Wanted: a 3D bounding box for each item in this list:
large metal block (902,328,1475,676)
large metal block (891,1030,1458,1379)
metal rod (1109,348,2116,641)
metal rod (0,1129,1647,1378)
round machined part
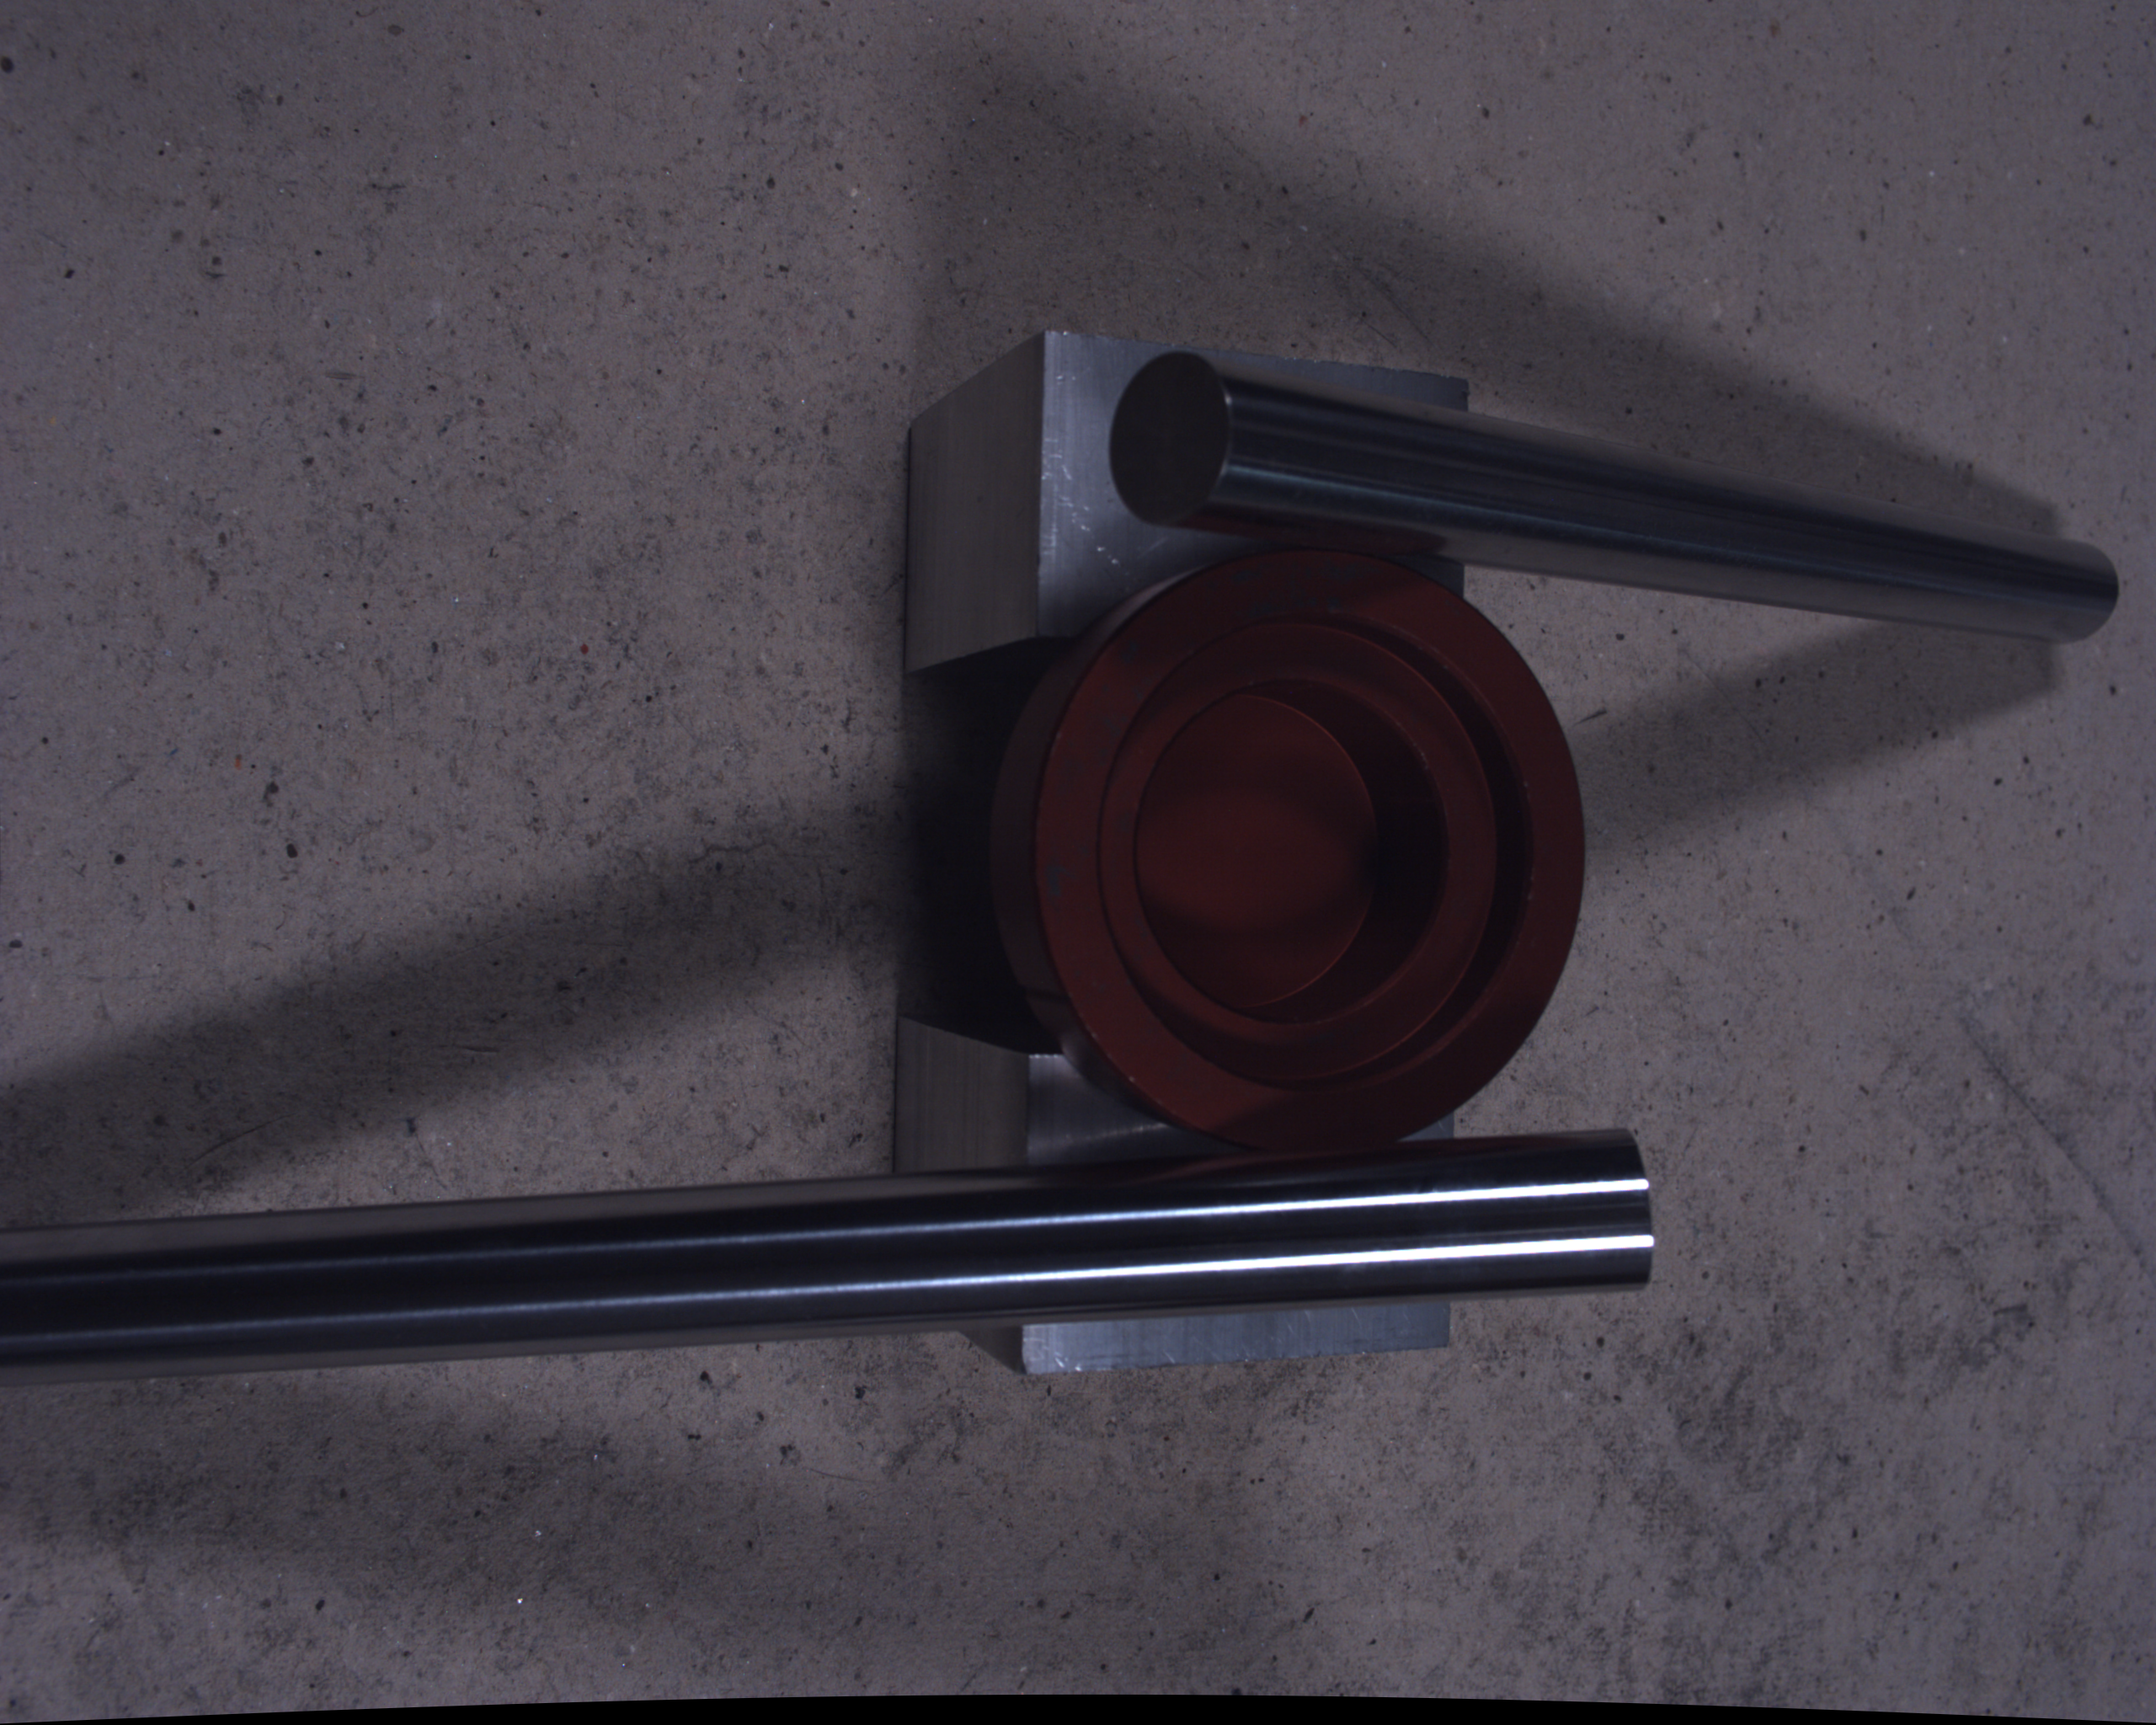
[{"bbox_3d":[0.017,-0.061,0.388,0.081,0.080,0.050,1,90,-20],"label":"large metal block"},{"bbox_3d":[0.015,0.059,0.387,0.081,0.080,0.050,1,90,-20],"label":"large metal block"},{"bbox_3d":[0.125,-0.063,0.401,0.302,0.025,0.025,-1,91,-42],"label":"metal rod"},{"bbox_3d":[-0.066,0.063,0.328,0.302,0.025,0.025,-4,92,2],"label":"metal rod"},{"bbox_3d":[0.032,-0.002,0.351,0.099,0.042,0.097,0,90,-21],"label":"round machined part"}]
